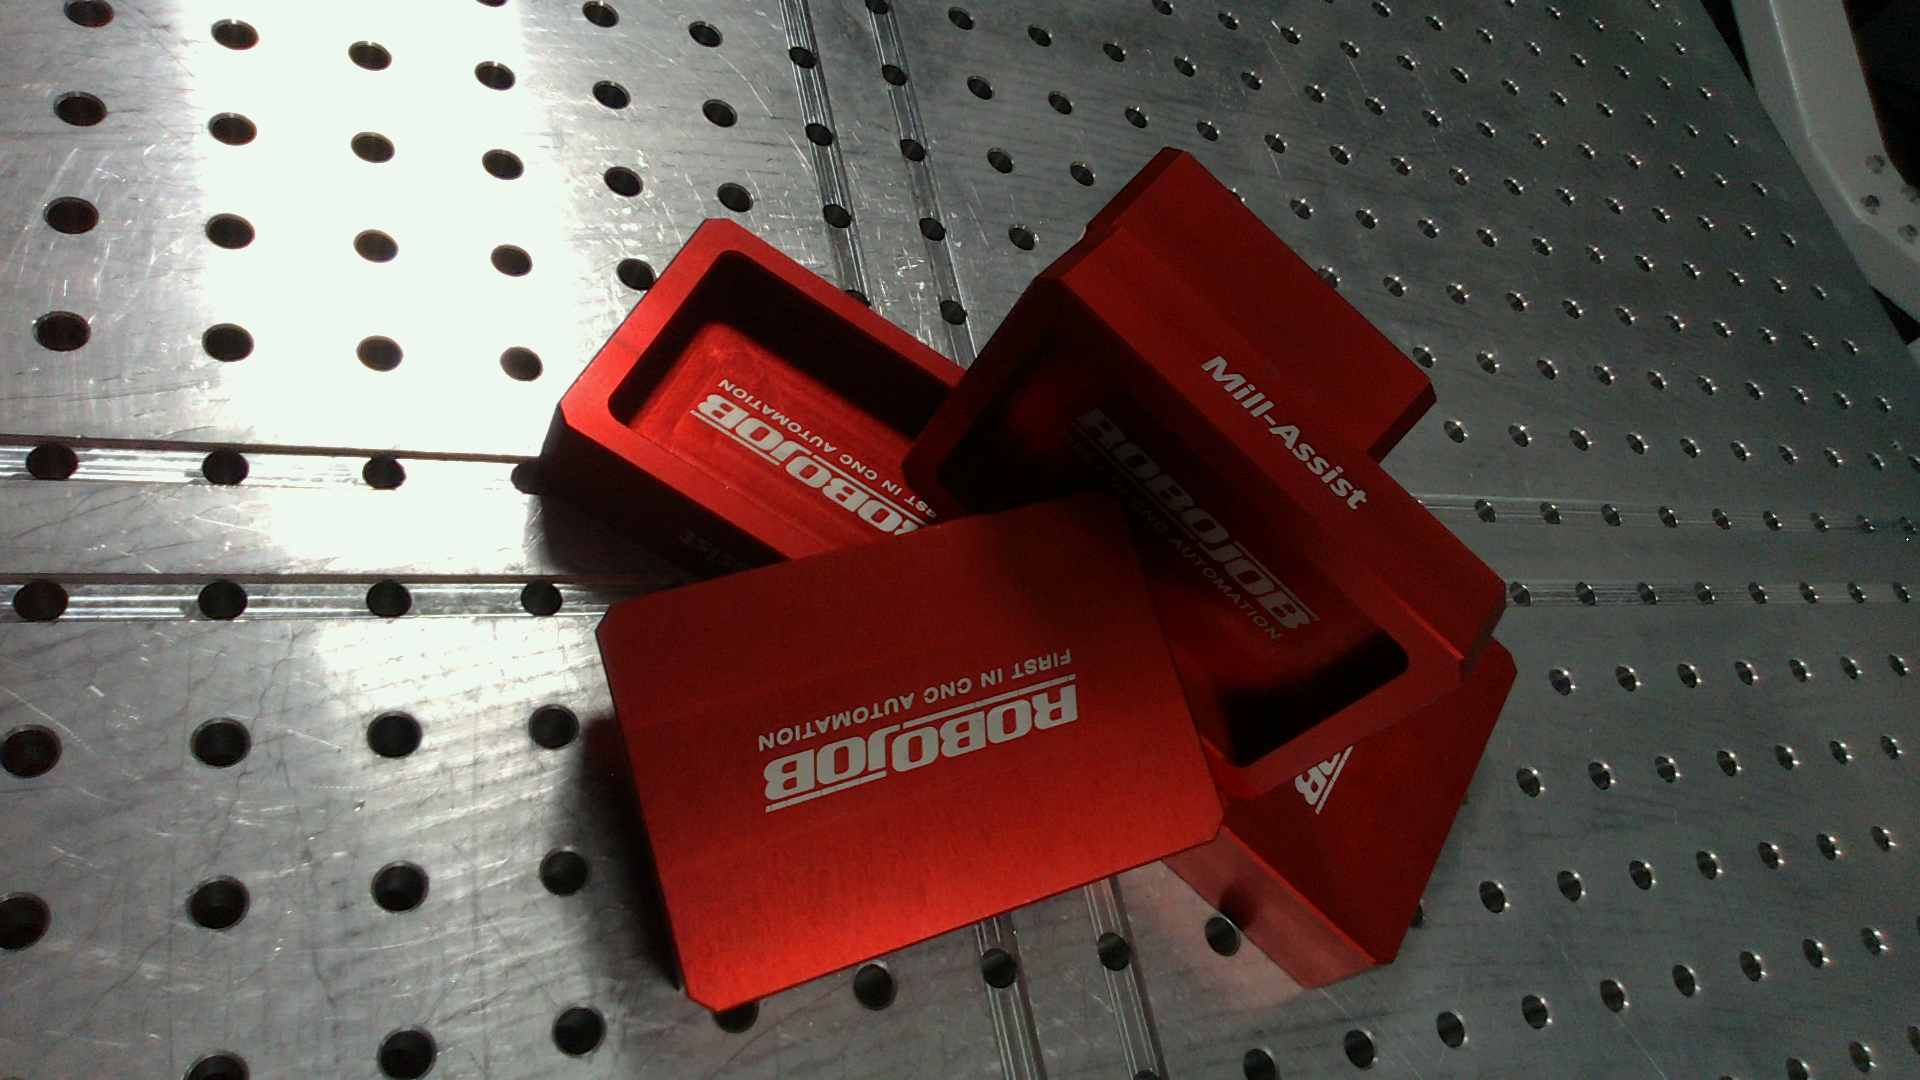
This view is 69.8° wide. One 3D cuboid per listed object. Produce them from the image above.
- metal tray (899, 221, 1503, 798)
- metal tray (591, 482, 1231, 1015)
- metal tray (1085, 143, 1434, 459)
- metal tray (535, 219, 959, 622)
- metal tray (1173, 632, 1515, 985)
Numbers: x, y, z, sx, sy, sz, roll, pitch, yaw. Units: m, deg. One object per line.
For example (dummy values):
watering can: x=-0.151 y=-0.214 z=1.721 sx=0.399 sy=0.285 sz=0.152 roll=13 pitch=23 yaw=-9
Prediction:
metal tray: x=0.055 y=-0.003 z=0.343 sx=0.130 sy=0.090 sz=0.030 roll=44 pitch=51 yaw=2
metal tray: x=-0.011 y=0.046 z=0.325 sx=0.130 sy=0.030 sz=0.090 roll=-14 pitch=79 yaw=-18
metal tray: x=0.066 y=-0.046 z=0.390 sx=0.090 sy=0.130 sz=0.030 roll=44 pitch=79 yaw=2
metal tray: x=-0.037 y=-0.022 z=0.383 sx=0.130 sy=0.030 sz=0.090 roll=32 pitch=51 yaw=-8
metal tray: x=0.107 y=0.053 z=0.413 sx=0.090 sy=0.030 sz=0.130 roll=42 pitch=51 yaw=0
